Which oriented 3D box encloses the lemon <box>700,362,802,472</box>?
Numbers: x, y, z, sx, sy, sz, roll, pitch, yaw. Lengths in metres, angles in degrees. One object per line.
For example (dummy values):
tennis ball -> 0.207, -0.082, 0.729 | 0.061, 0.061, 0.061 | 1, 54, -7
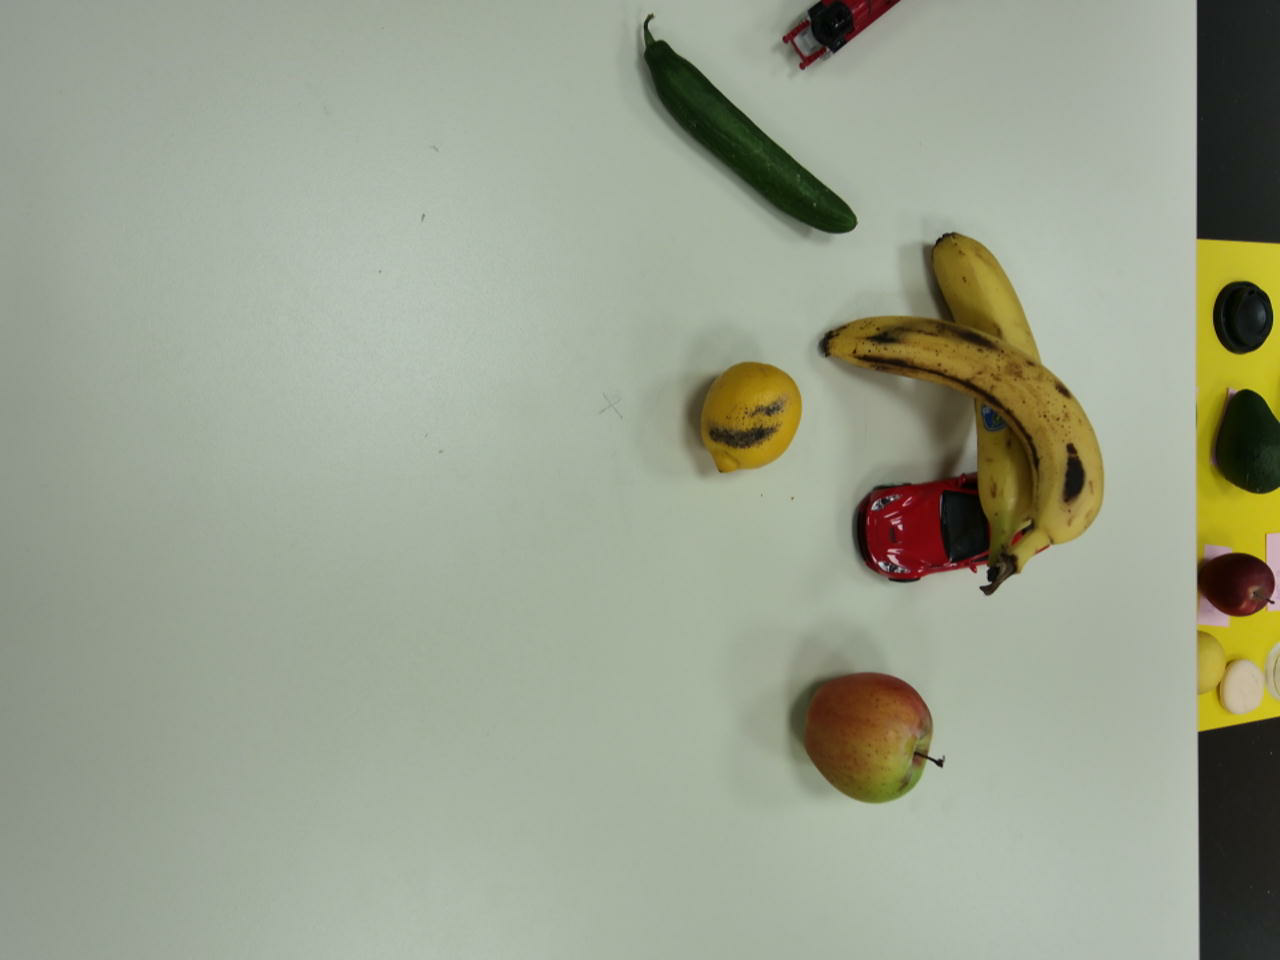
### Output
lemon -> 0.064, -0.037, 0.571 | 0.058, 0.056, 0.061 | -9, 94, -22
